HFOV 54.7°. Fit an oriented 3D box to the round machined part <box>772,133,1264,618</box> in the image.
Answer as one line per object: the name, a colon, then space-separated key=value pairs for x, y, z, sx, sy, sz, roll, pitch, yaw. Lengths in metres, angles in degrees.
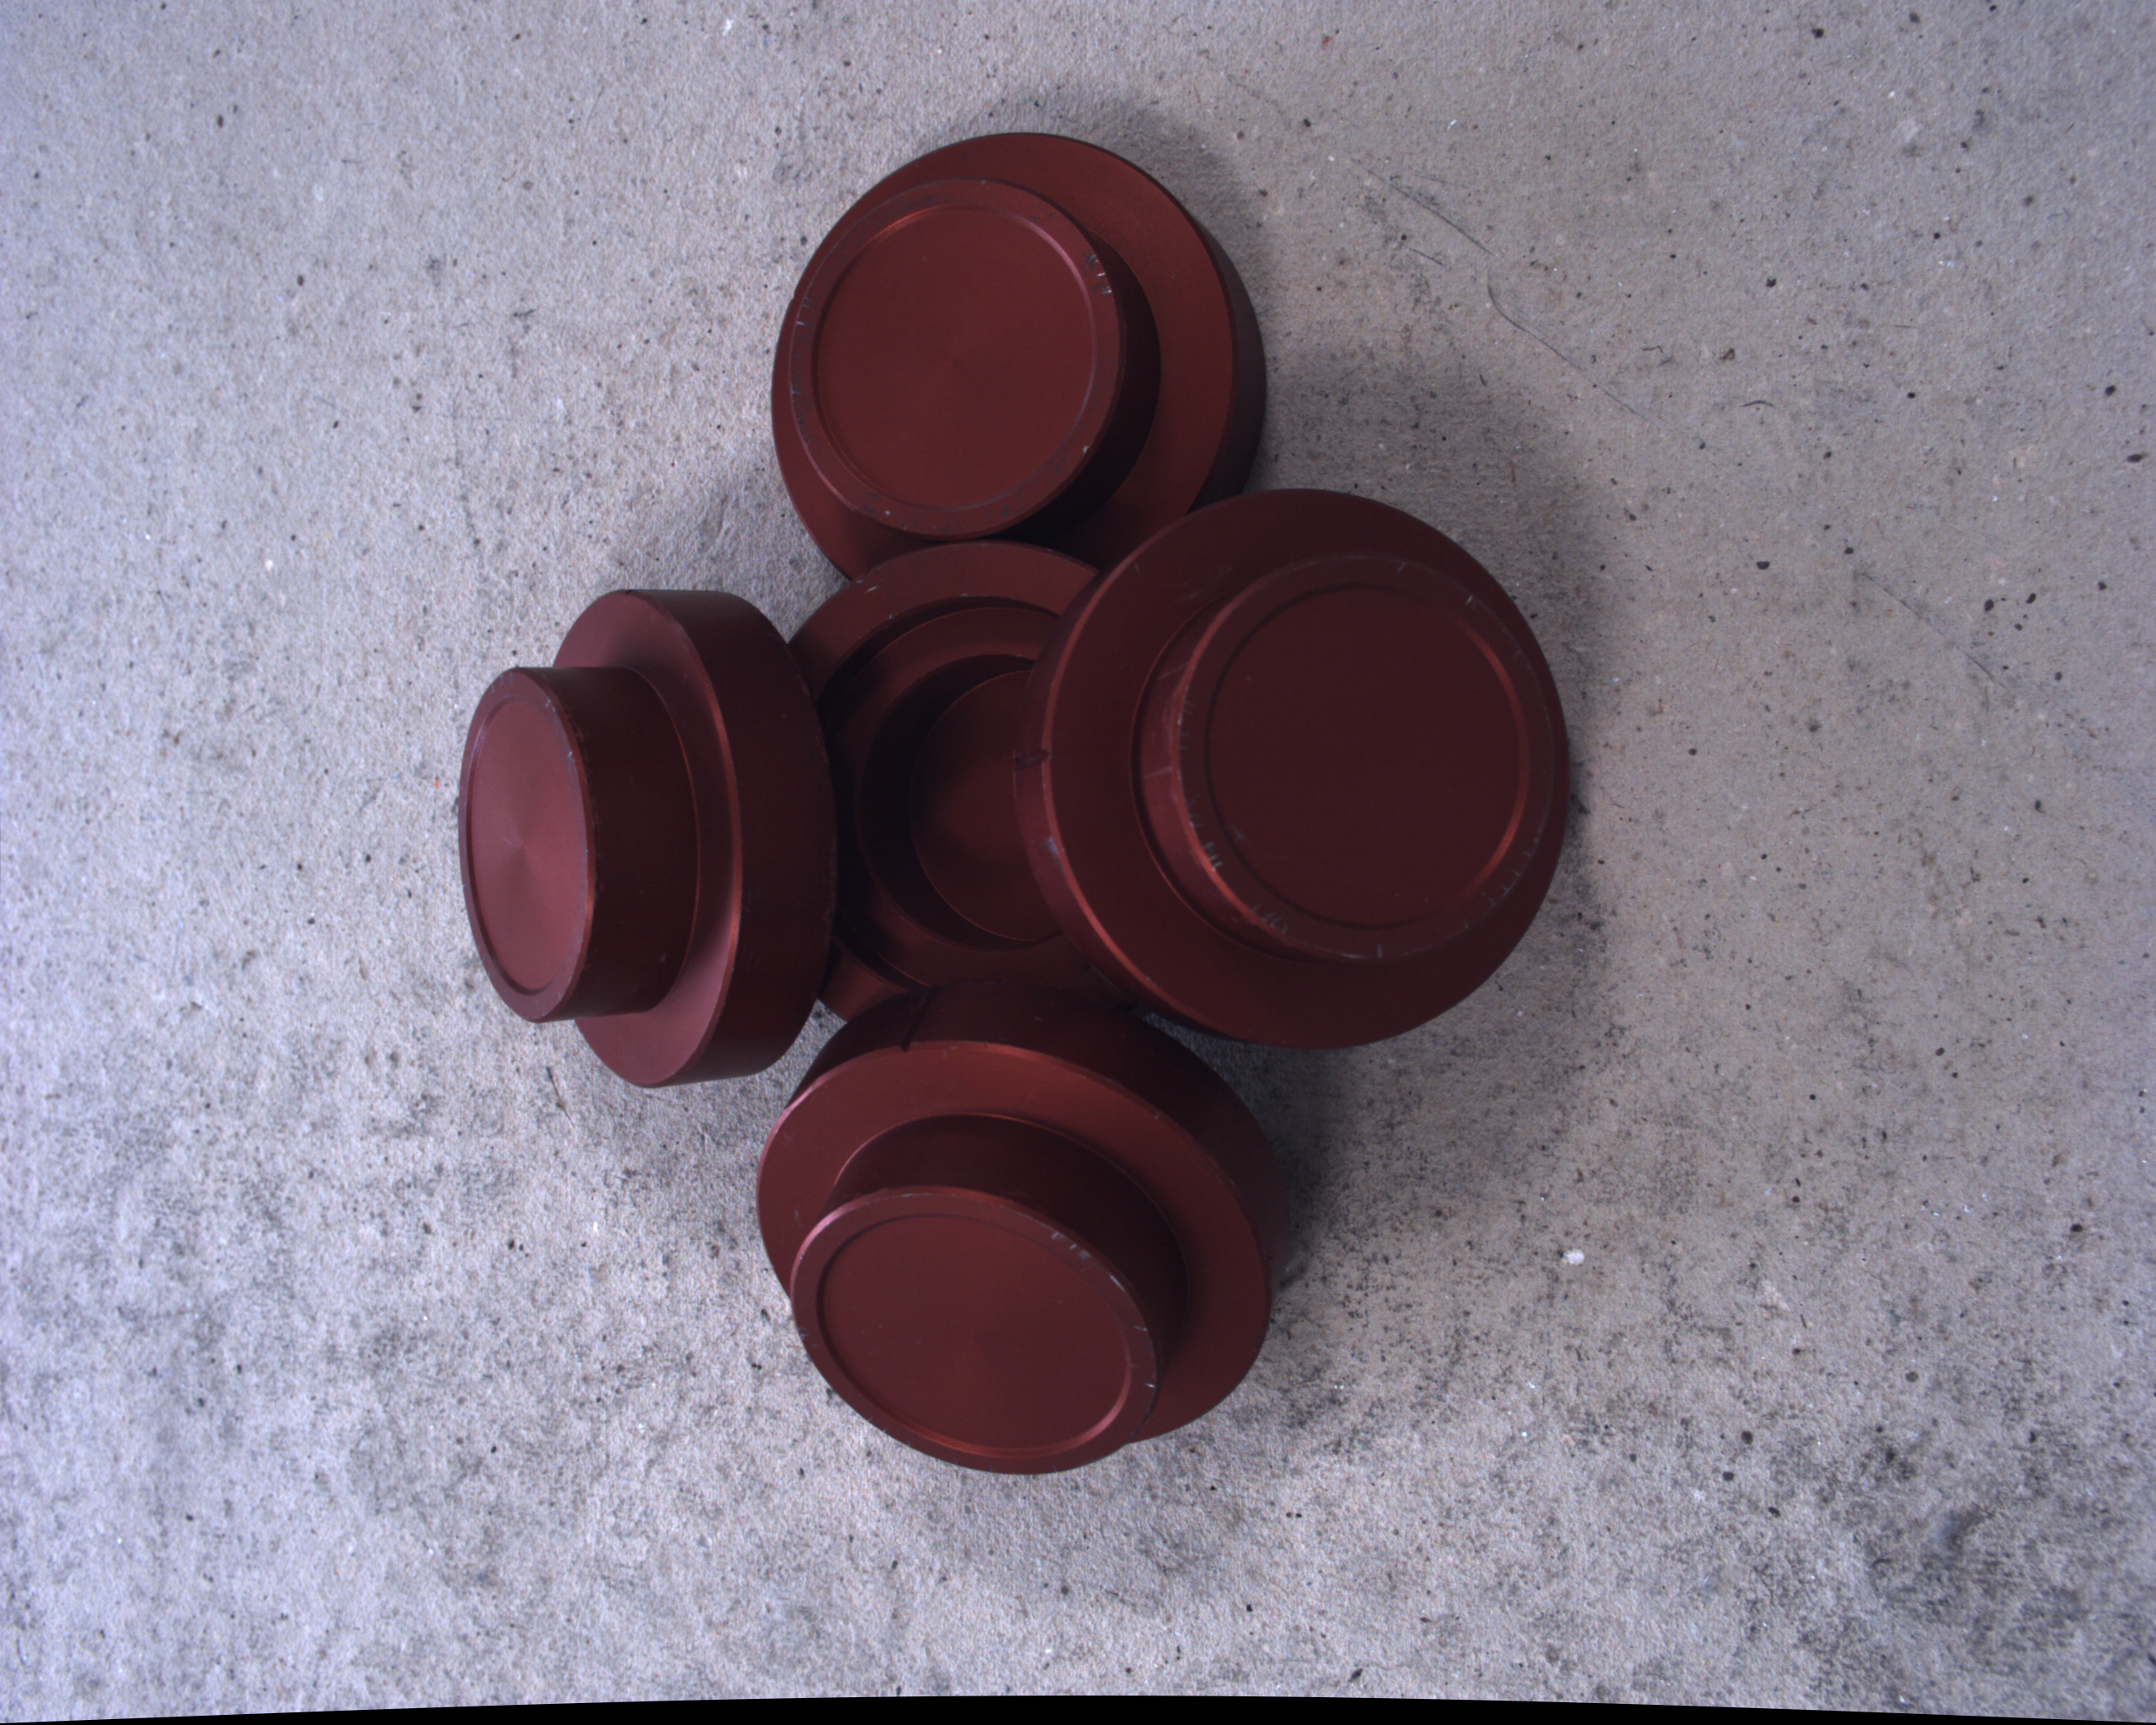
round machined part: x=-0.017 y=-0.094 z=0.407 sx=0.098 sy=0.042 sz=0.097 roll=-1 pitch=88 yaw=20

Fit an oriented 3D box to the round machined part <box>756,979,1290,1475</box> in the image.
round machined part: x=-0.013 y=0.073 z=0.383 sx=0.098 sy=0.042 sz=0.097 roll=8 pitch=122 yaw=13

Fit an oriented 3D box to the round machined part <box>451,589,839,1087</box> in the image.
round machined part: x=-0.090 y=-0.004 z=0.407 sx=0.098 sy=0.042 sz=0.097 roll=8 pitch=100 yaw=52

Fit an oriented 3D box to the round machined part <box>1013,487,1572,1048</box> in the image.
round machined part: x=0.042 y=-0.017 z=0.359 sx=0.099 sy=0.042 sz=0.097 roll=1 pitch=87 yaw=-16

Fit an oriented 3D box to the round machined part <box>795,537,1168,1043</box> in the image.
round machined part: x=-0.012 y=-0.012 z=0.405 sx=0.098 sy=0.042 sz=0.097 roll=0 pitch=89 yaw=22
